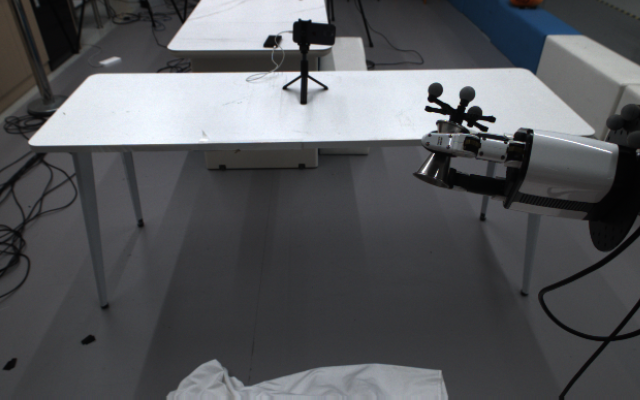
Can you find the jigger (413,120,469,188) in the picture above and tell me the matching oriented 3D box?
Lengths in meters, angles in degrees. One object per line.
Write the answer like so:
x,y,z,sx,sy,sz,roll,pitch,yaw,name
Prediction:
0.139,-0.055,0.559,0.043,0.071,0.043,25,-3,1,jigger
